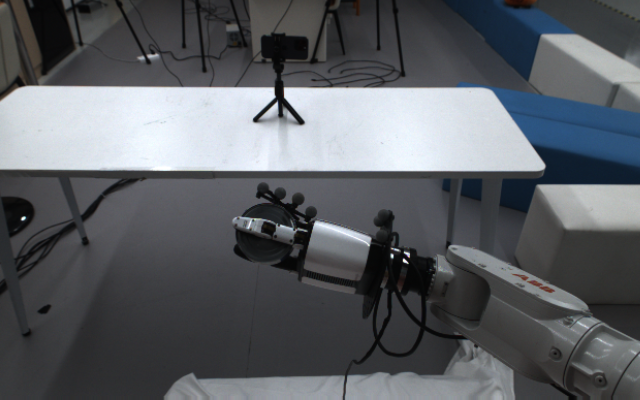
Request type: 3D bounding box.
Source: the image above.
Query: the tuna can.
[{"bbox_3d":[-0.074,0.049,0.691,0.085,0.034,0.085,0,72,0],"label":"tuna can"}]
